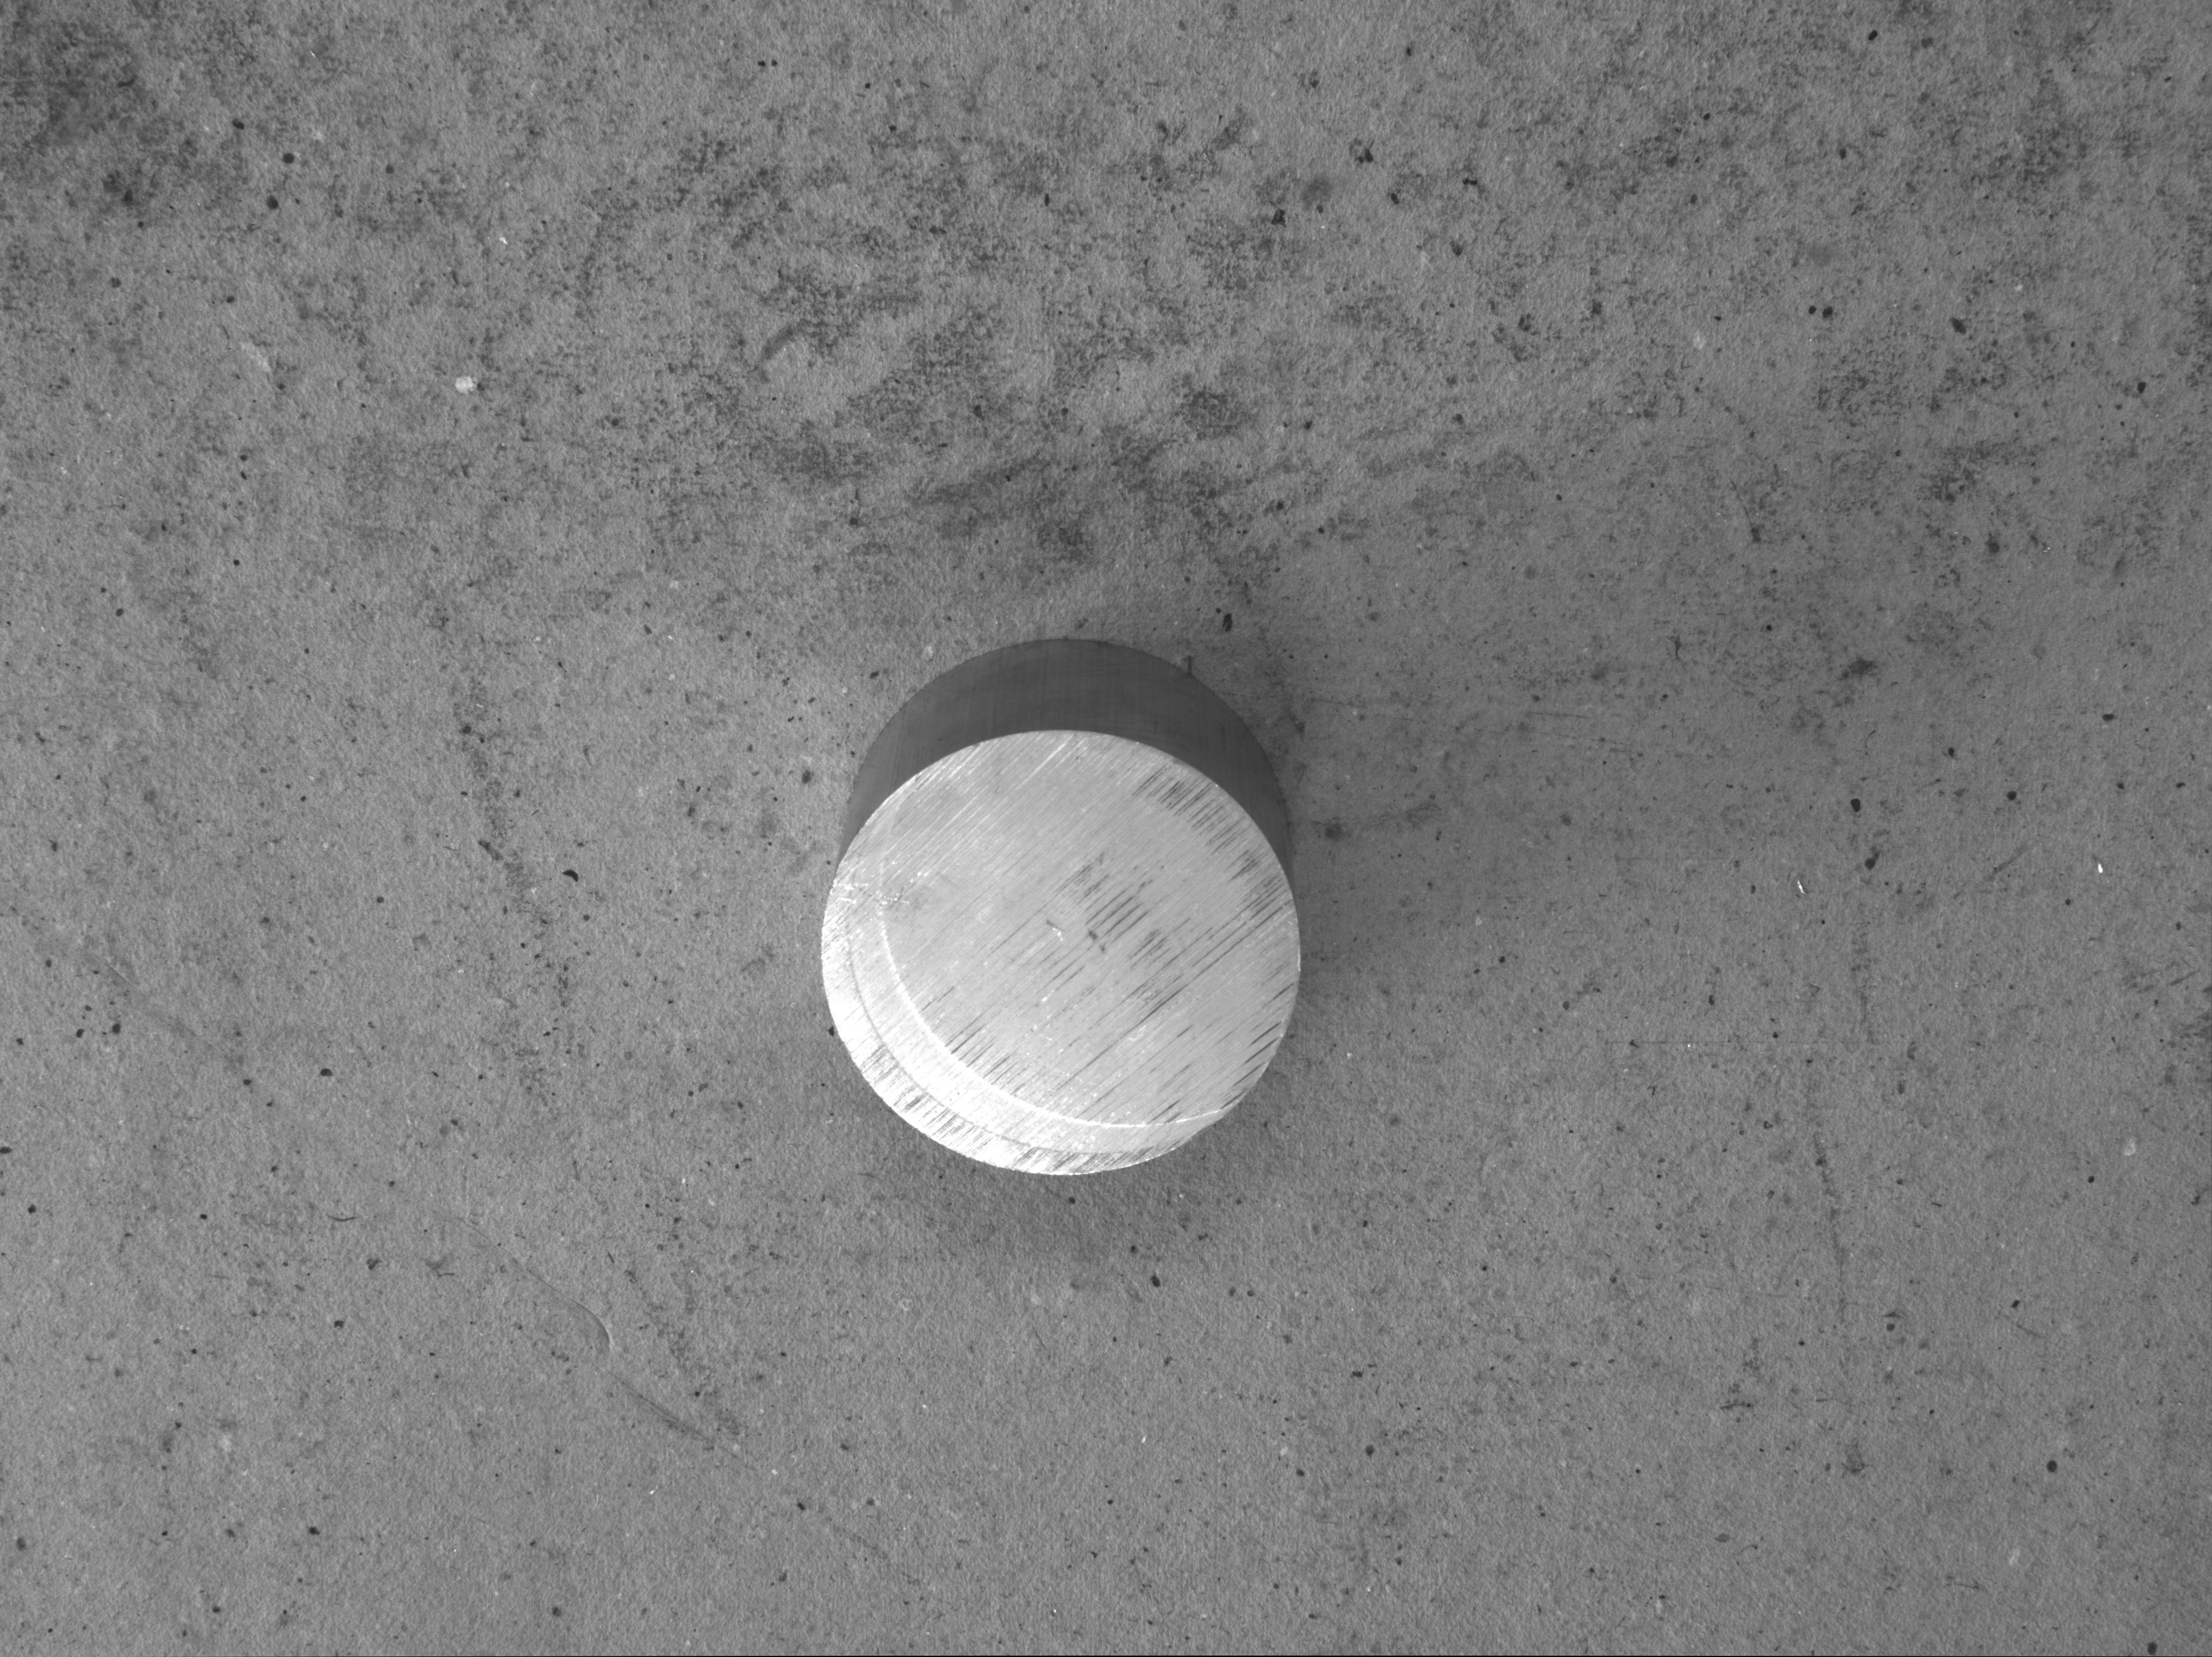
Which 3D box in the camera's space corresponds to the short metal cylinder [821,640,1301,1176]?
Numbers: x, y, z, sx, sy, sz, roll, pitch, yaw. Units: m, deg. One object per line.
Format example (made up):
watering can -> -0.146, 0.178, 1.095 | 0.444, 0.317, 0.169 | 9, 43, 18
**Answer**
short metal cylinder -> -0.008, 0.013, 0.636 | 0.080, 0.050, 0.080 | 0, 110, -1
